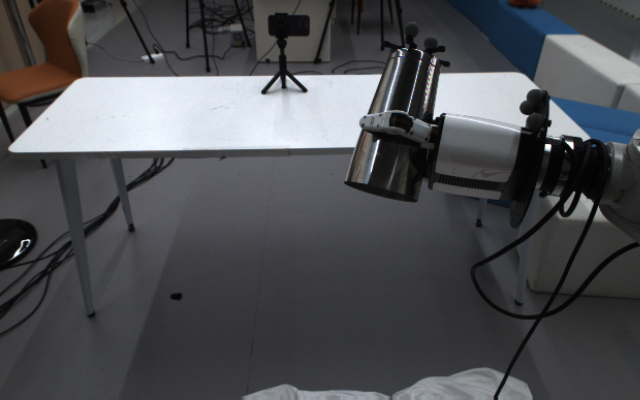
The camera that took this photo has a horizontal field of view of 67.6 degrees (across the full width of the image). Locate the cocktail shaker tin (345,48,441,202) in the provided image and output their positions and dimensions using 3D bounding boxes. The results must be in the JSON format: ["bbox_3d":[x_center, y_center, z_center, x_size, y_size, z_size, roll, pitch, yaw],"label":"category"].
[{"bbox_3d":[0.096,-0.091,0.592,0.093,0.170,0.093,16,-4,1],"label":"cocktail shaker tin"}]
